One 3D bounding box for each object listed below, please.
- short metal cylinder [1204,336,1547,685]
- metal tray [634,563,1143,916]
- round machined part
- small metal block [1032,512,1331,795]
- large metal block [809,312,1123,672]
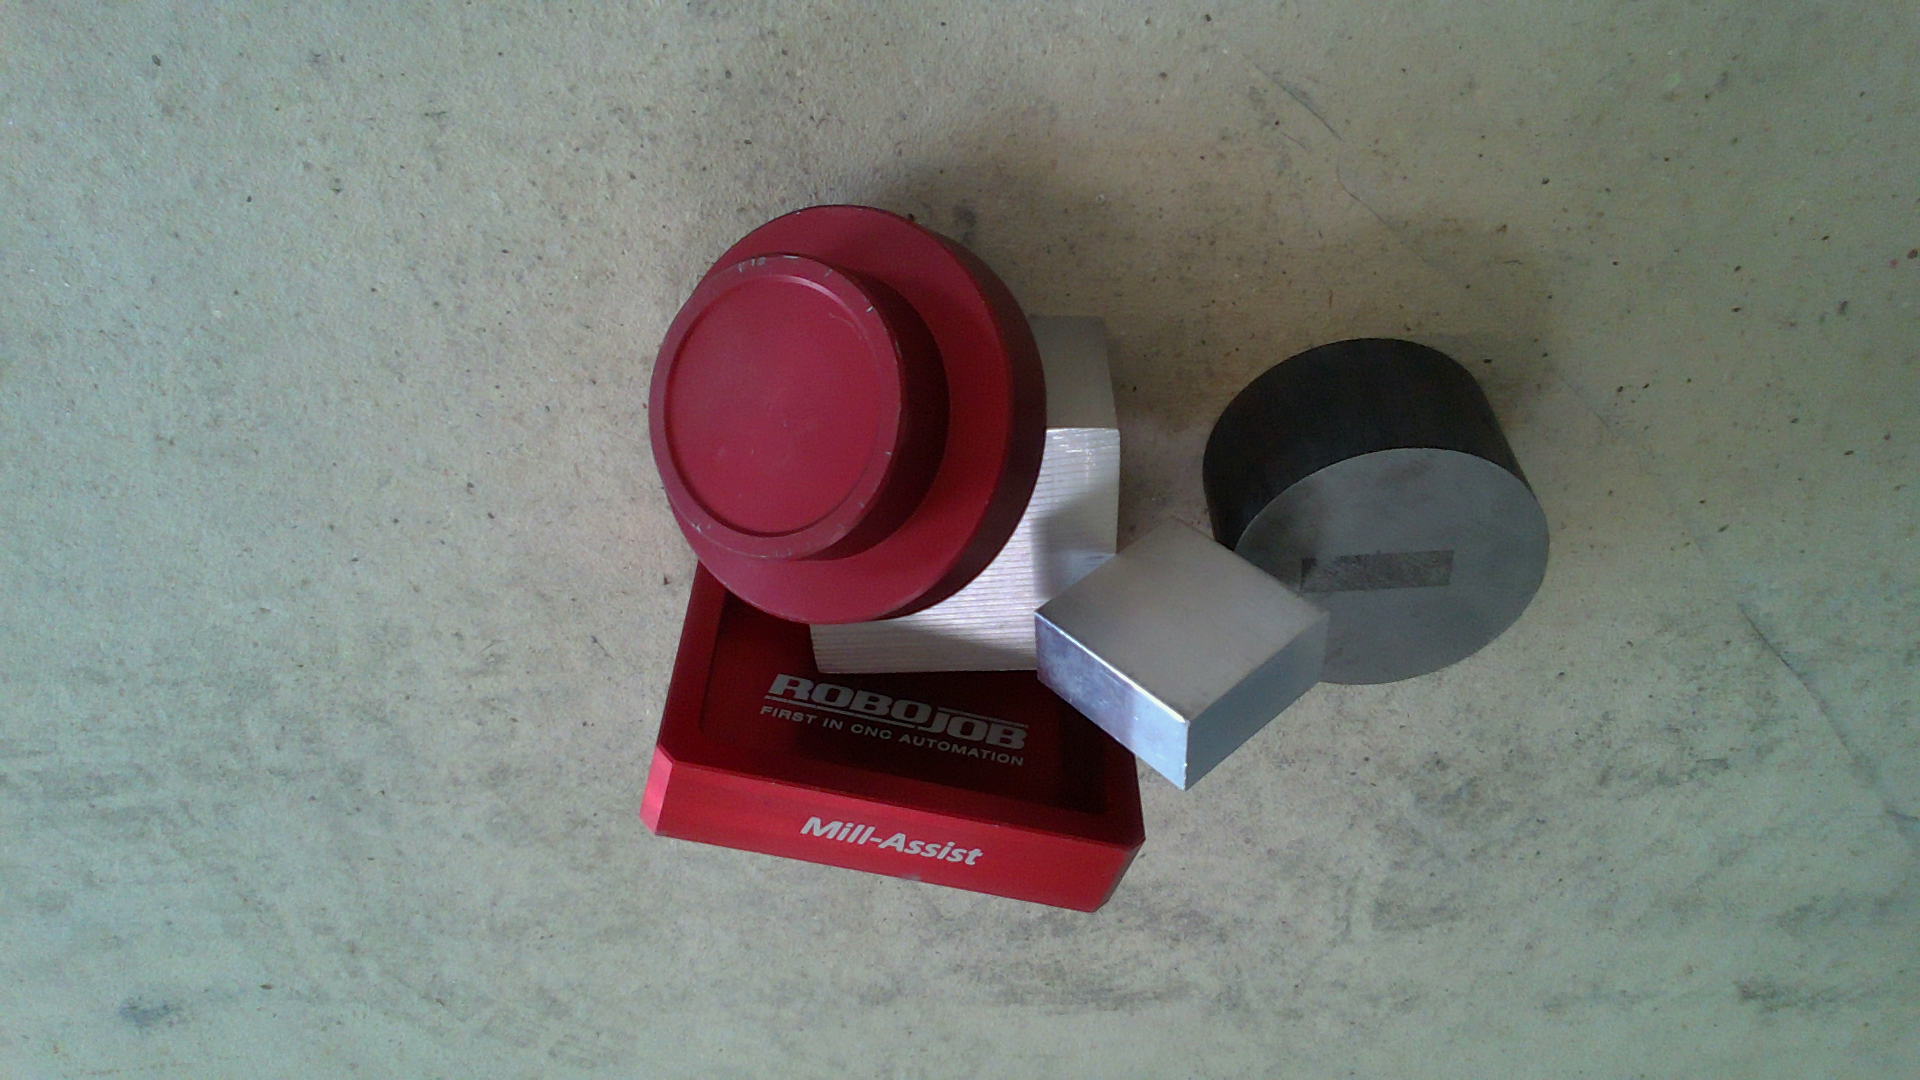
[{"bbox_3d":[0.109,-0.007,0.370,0.080,0.050,0.080,0,130,0],"label":"short metal cylinder"},{"bbox_3d":[-0.018,0.050,0.390,0.130,0.090,0.030,13,129,-11],"label":"metal tray"},{"bbox_3d":[-0.033,-0.029,0.318,0.098,0.098,0.042,-30,168,23],"label":"round machined part"},{"bbox_3d":[0.054,0.026,0.337,0.050,0.050,0.025,-33,139,-27],"label":"small metal block"},{"bbox_3d":[-0.001,-0.012,0.366,0.080,0.050,0.080,-1,130,1],"label":"large metal block"}]
